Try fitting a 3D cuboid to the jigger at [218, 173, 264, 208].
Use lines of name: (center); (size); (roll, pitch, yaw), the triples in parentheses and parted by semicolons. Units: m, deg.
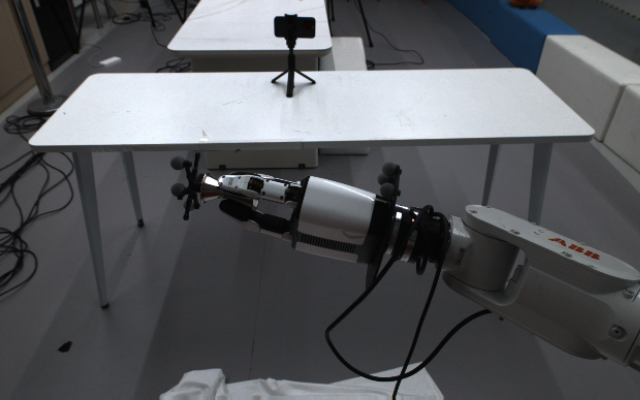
jigger: (-0.106, -0.016, 0.621); (0.071, 0.043, 0.043); (6, 35, 2)
